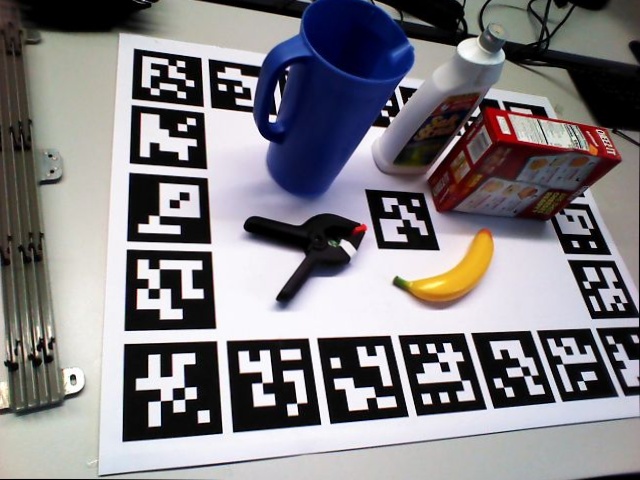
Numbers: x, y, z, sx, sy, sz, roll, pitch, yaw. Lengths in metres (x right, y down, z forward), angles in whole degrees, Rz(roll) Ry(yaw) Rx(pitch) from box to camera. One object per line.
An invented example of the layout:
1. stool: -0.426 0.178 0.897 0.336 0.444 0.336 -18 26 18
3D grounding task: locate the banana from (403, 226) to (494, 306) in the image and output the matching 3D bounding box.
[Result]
1. banana: 0.203 0.041 0.746 0.196 0.039 0.074 -35 75 -33

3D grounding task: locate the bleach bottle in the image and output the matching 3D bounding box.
1. bleach bottle: 0.163 -0.185 0.735 0.102 0.252 0.067 0 58 -19

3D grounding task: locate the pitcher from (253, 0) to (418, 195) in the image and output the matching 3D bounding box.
1. pitcher: -0.001 -0.163 0.638 0.188 0.244 0.133 -17 65 -31

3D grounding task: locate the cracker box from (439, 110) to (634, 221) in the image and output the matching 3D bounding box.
1. cracker box: 0.313 -0.105 0.773 0.213 0.165 0.071 1 56 -17

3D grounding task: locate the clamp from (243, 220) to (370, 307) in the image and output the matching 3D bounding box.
1. clamp: -0.005 0.014 0.679 0.164 0.037 0.121 -15 64 -29
